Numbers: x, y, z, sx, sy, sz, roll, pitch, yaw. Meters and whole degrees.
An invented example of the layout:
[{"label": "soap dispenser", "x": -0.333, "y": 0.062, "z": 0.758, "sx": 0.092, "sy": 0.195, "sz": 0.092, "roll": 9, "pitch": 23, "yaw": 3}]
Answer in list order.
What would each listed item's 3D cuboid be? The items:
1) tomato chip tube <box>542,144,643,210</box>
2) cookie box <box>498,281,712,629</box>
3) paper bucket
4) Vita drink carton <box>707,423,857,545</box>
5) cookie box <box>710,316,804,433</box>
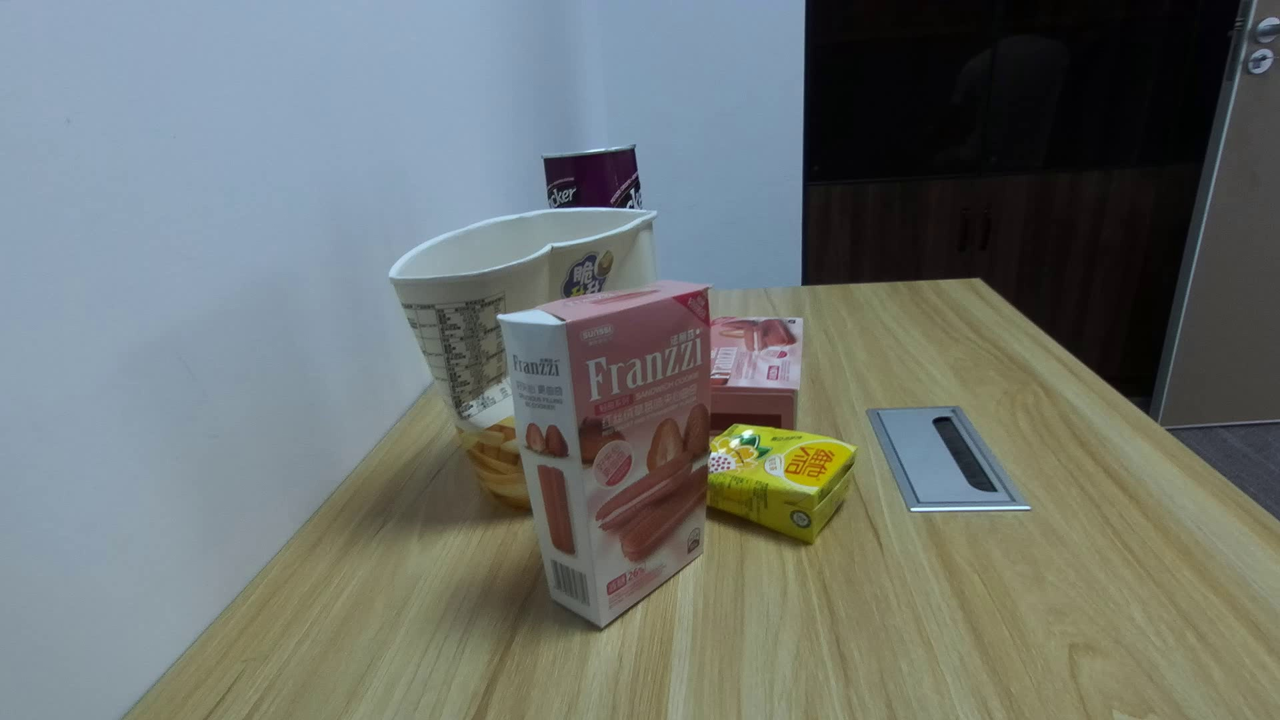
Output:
[{"label": "tomato chip tube", "x": -0.038, "y": -0.094, "z": 0.711, "sx": 0.077, "sy": 0.235, "sz": 0.076, "roll": 3, "pitch": 27, "yaw": 17}, {"label": "cookie box", "x": -0.009, "y": 0.051, "z": 0.420, "sx": 0.119, "sy": 0.184, "sz": 0.055, "roll": -20, "pitch": 27, "yaw": -35}, {"label": "paper bucket", "x": -0.064, "y": -0.008, "z": 0.555, "sx": 0.147, "sy": 0.199, "sz": 0.218, "roll": 1, "pitch": 23, "yaw": 14}, {"label": "Vita drink carton", "x": 0.092, "y": 0.084, "z": 0.508, "sx": 0.107, "sy": 0.042, "sz": 0.087, "roll": 11, "pitch": 32, "yaw": 41}, {"label": "cookie box", "x": 0.106, "y": 0.011, "z": 0.679, "sx": 0.096, "sy": 0.048, "sz": 0.184, "roll": 2, "pitch": 22, "yaw": 13}]
